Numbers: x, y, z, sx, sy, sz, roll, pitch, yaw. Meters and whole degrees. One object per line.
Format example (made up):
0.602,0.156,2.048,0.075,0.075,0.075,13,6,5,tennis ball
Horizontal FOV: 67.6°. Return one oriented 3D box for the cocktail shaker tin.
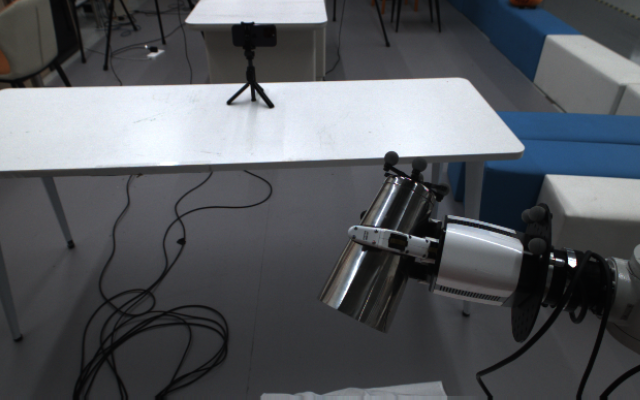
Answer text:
0.077,0.058,0.578,0.093,0.093,0.170,21,81,25,cocktail shaker tin
